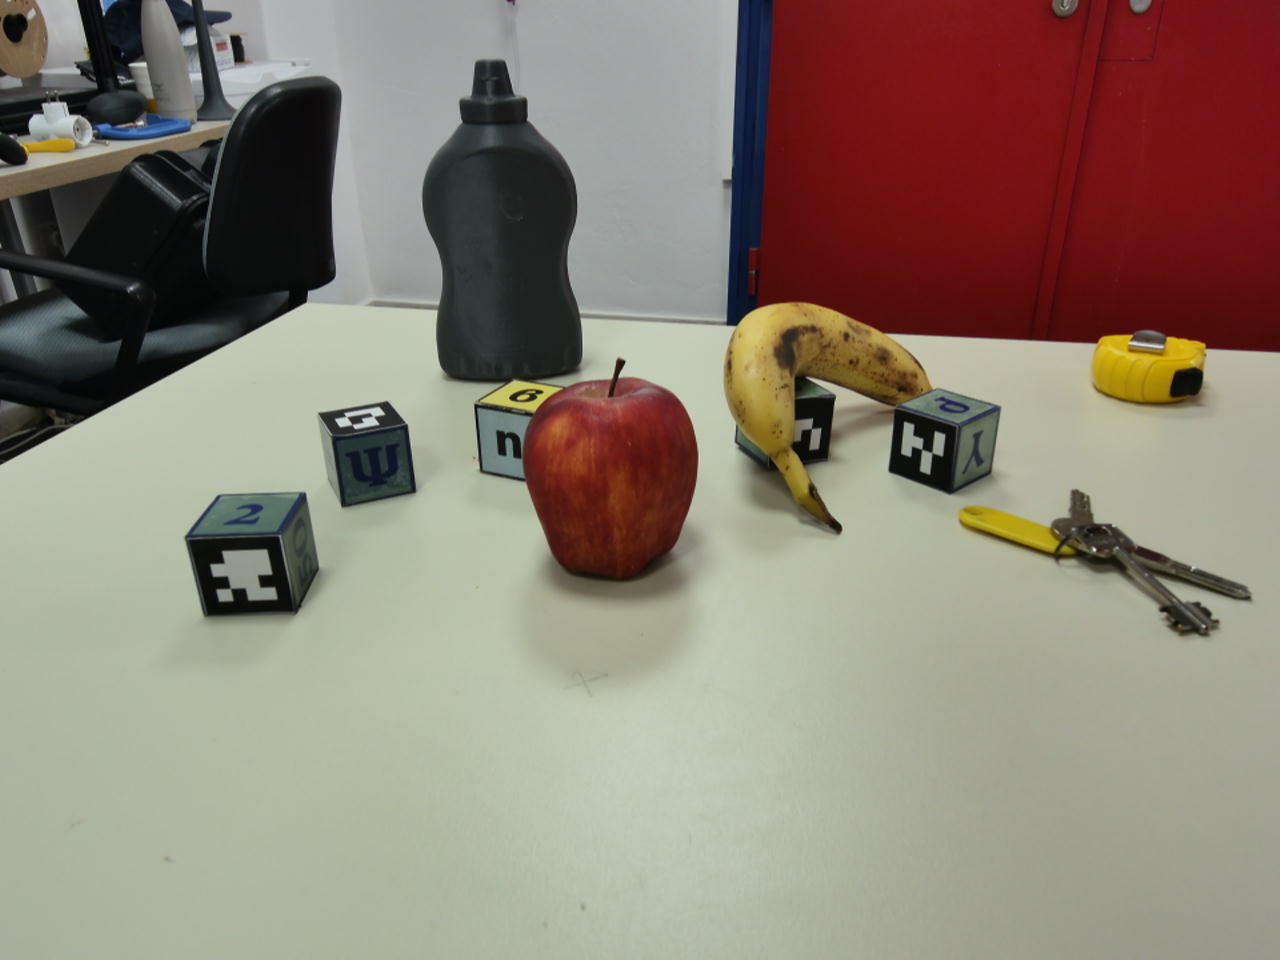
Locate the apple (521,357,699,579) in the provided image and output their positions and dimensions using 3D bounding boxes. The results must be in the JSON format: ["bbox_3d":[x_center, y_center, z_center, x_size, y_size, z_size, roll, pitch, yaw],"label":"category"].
[{"bbox_3d":[-0.013,-0.009,0.431,0.083,0.090,0.083,-1,24,0],"label":"apple"}]
